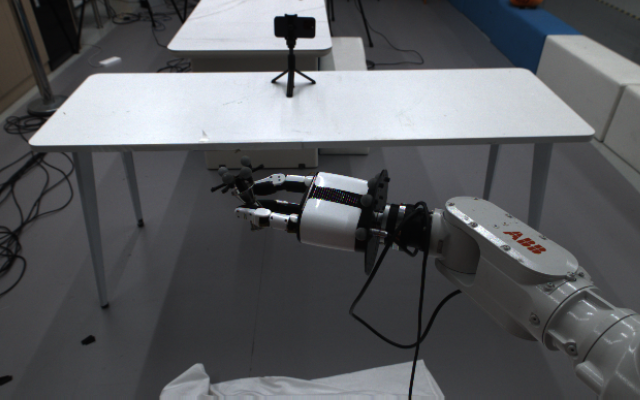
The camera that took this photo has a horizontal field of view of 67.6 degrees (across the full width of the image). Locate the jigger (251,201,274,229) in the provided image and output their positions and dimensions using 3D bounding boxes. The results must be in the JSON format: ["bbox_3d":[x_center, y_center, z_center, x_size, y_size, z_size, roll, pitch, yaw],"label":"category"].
[{"bbox_3d":[-0.102,0.007,0.761,0.043,0.071,0.043,-23,22,10],"label":"jigger"}]
